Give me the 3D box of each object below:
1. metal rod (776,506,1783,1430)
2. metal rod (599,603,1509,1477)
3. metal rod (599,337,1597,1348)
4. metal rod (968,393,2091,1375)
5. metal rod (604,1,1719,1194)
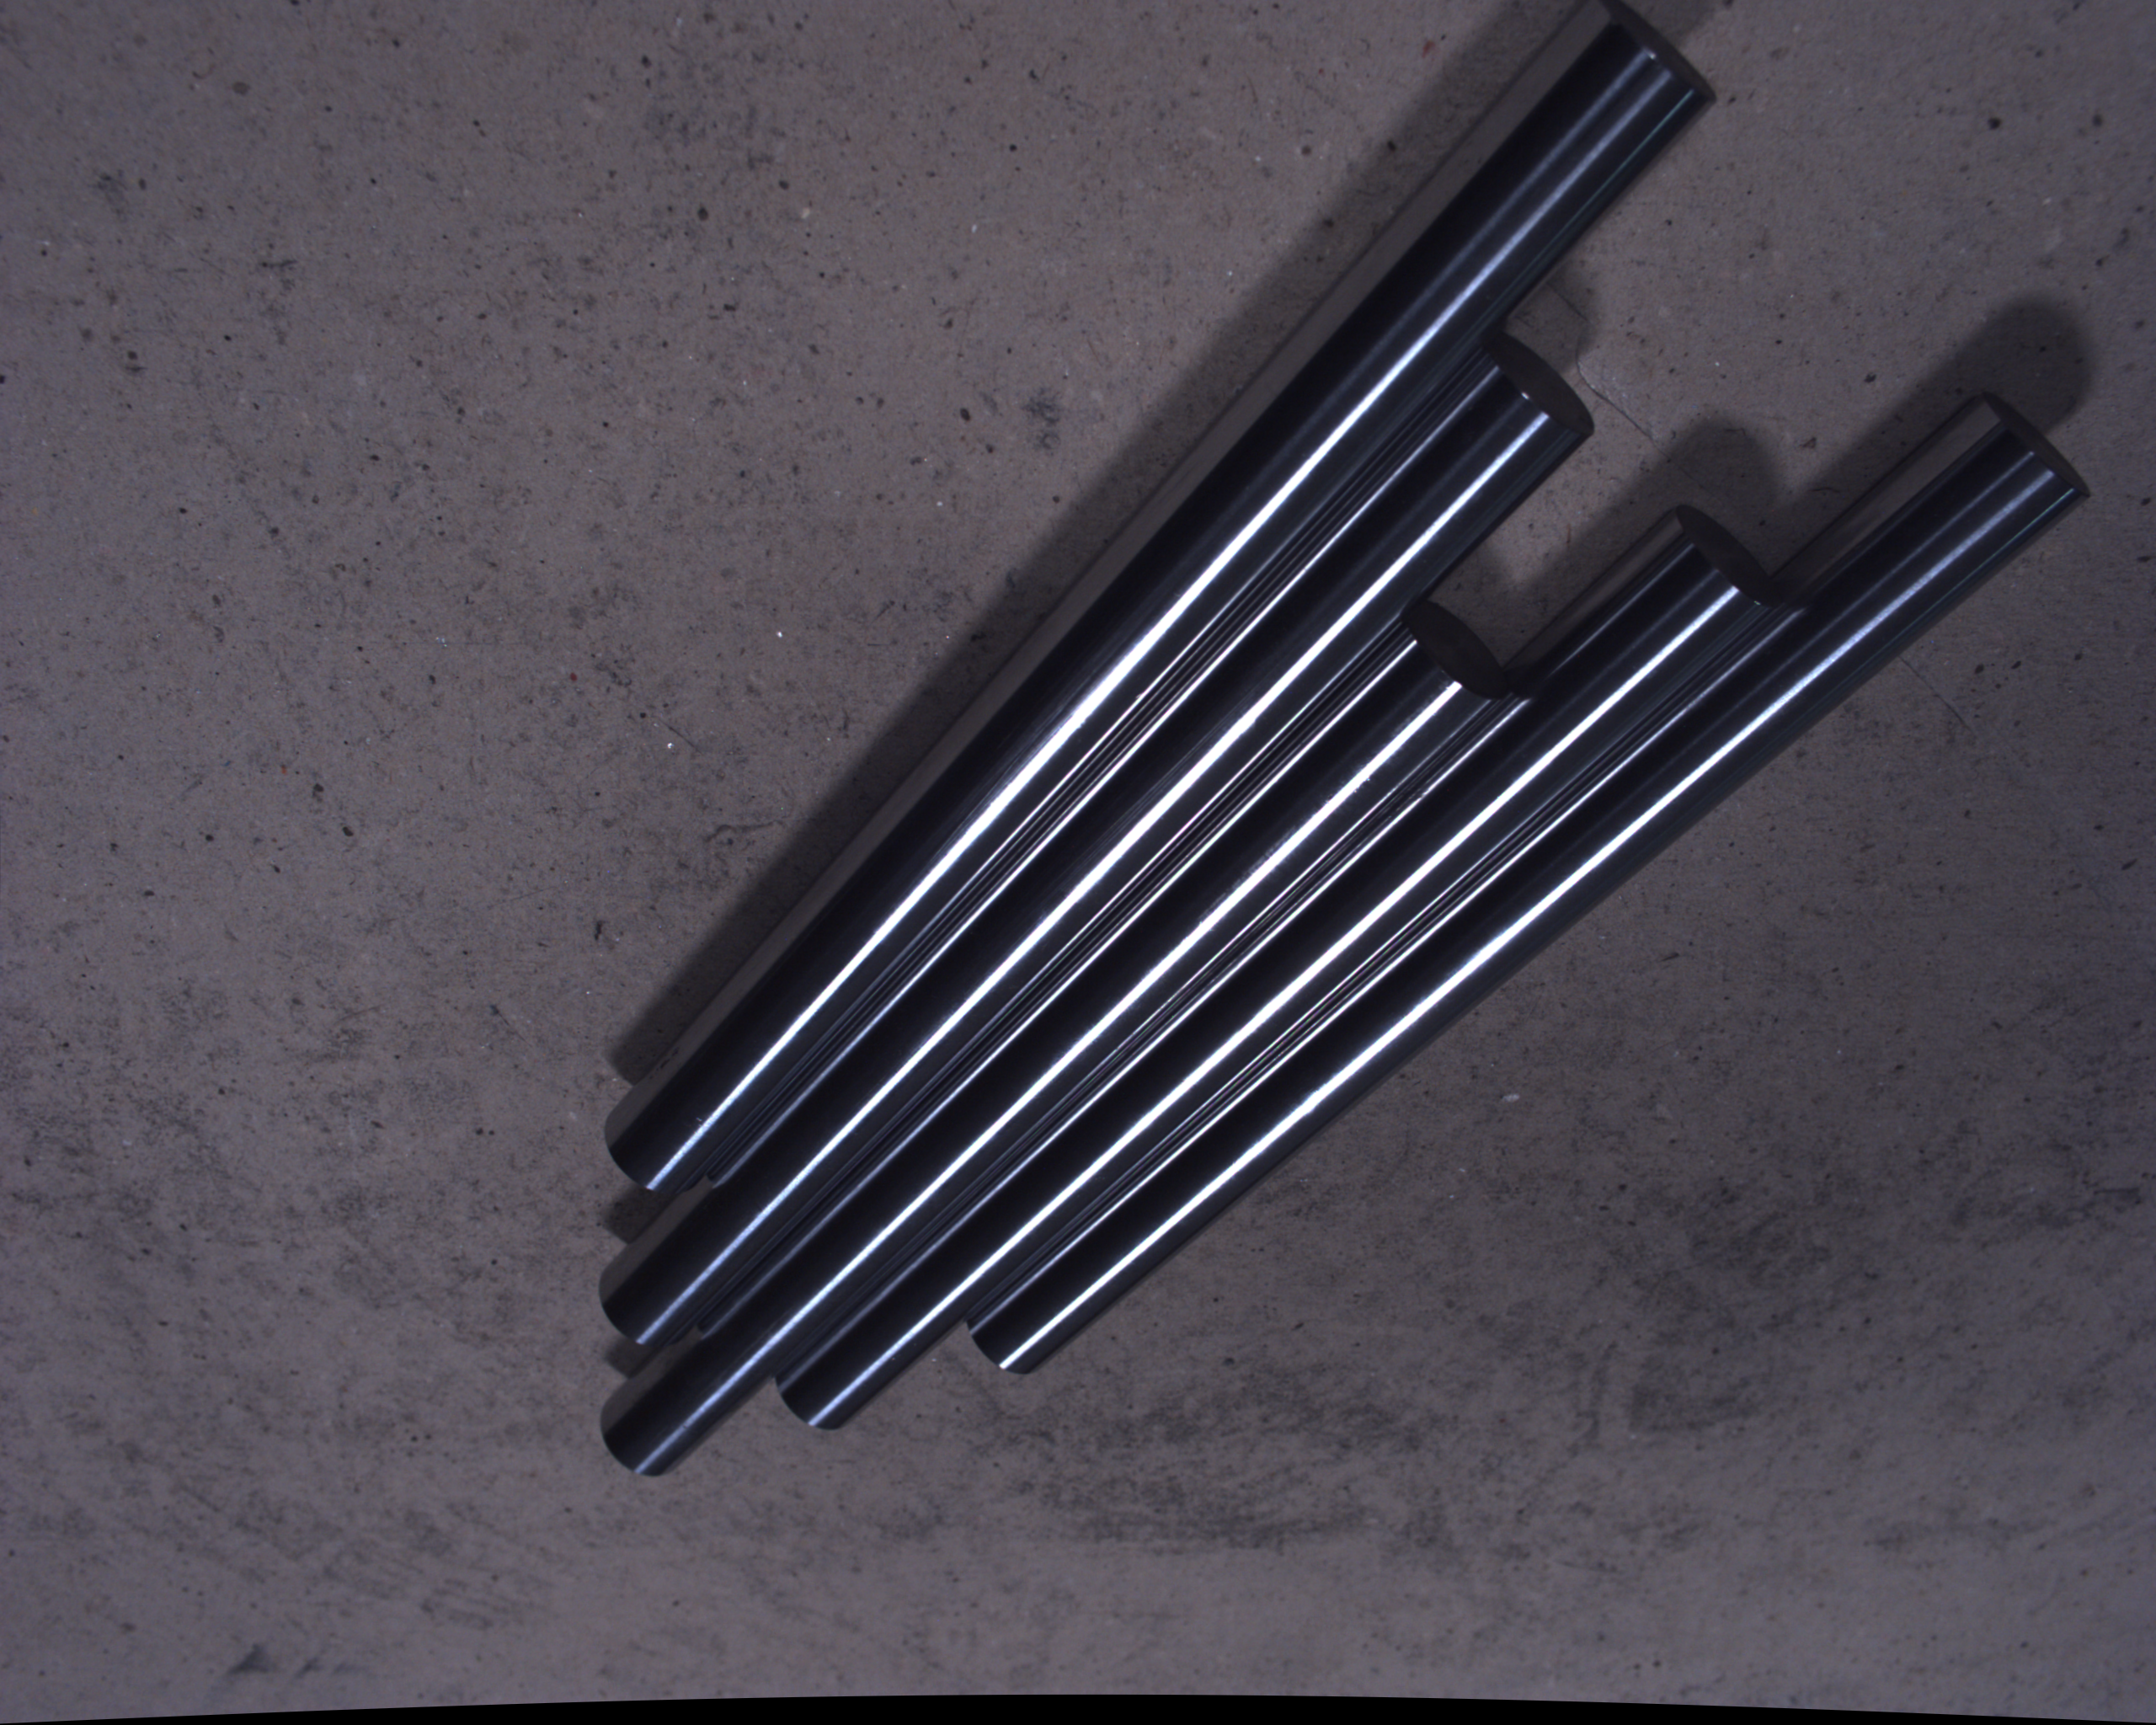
[{"bbox_3d":[0.025,0.038,0.441,0.025,0.025,0.299,29,124,-23],"label":"metal rod"},{"bbox_3d":[-0.021,0.053,0.454,0.025,0.025,0.299,29,124,-23],"label":"metal rod"},{"bbox_3d":[-0.013,0.013,0.419,0.025,0.025,0.299,29,124,-23],"label":"metal rod"},{"bbox_3d":[0.072,0.021,0.427,0.025,0.025,0.299,29,124,-23],"label":"metal rod"},{"bbox_3d":[-0.004,-0.029,0.384,0.025,0.025,0.299,29,124,-23],"label":"metal rod"}]
